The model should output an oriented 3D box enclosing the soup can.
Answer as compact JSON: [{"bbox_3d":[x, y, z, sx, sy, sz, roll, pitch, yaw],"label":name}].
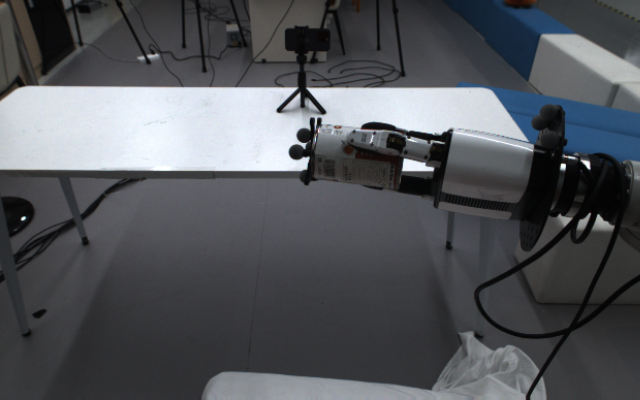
[{"bbox_3d":[0.049,-0.052,0.568,0.101,0.067,0.067,7,35,10],"label":"soup can"}]
